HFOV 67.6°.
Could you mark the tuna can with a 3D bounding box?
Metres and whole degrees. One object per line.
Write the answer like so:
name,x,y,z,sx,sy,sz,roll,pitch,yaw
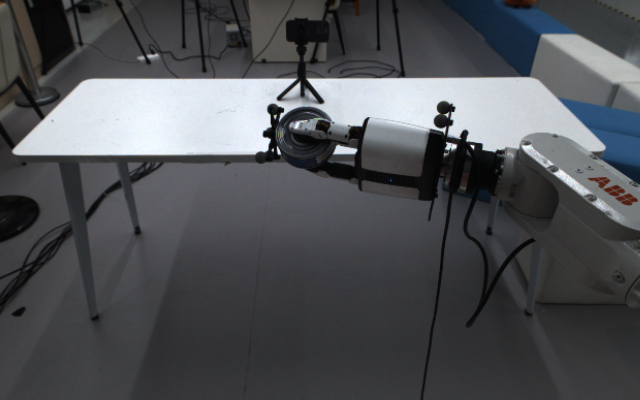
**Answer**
tuna can,-0.019,-0.092,0.694,0.085,0.034,0.085,-2,69,6
